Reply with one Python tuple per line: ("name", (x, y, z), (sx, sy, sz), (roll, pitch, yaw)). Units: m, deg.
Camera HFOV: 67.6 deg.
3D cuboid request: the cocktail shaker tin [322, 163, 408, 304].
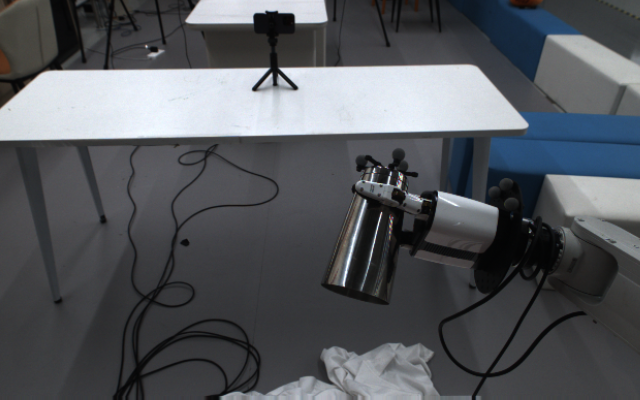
("cocktail shaker tin", (0.069, 0.043, 0.651), (0.093, 0.093, 0.170), (12, 72, 14))
